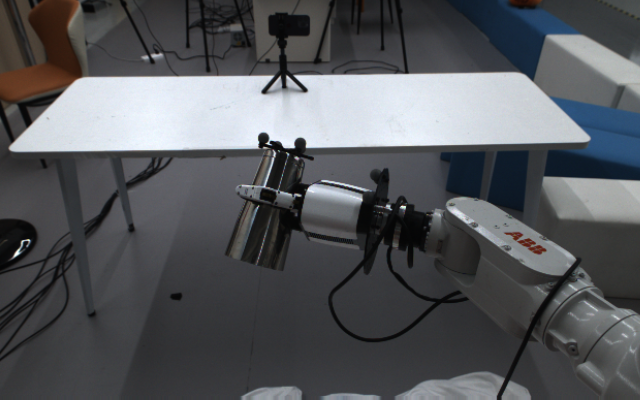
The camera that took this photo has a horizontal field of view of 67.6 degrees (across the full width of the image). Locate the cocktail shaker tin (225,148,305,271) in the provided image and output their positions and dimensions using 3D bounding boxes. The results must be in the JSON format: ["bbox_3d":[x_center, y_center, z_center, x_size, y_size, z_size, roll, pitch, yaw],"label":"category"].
[{"bbox_3d":[-0.080,0.013,0.738,0.093,0.170,0.093,16,-7,2],"label":"cocktail shaker tin"}]
